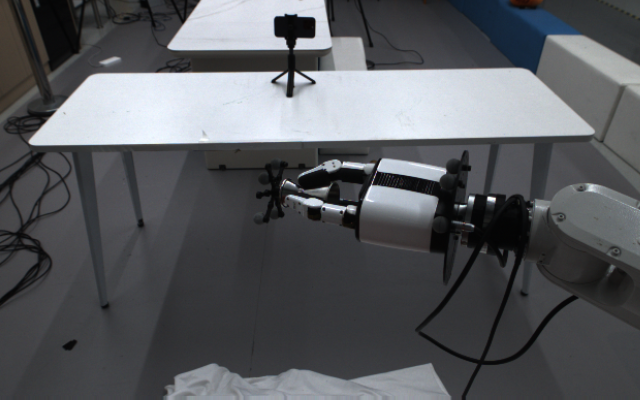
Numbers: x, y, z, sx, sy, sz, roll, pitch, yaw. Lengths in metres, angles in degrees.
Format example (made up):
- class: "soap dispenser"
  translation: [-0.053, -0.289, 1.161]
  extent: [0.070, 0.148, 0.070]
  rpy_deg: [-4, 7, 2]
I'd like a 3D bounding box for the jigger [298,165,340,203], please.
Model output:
- class: "jigger"
  translation: [-0.008, -0.008, 0.625]
  extent: [0.071, 0.043, 0.043]
  rpy_deg: [8, 34, 23]
